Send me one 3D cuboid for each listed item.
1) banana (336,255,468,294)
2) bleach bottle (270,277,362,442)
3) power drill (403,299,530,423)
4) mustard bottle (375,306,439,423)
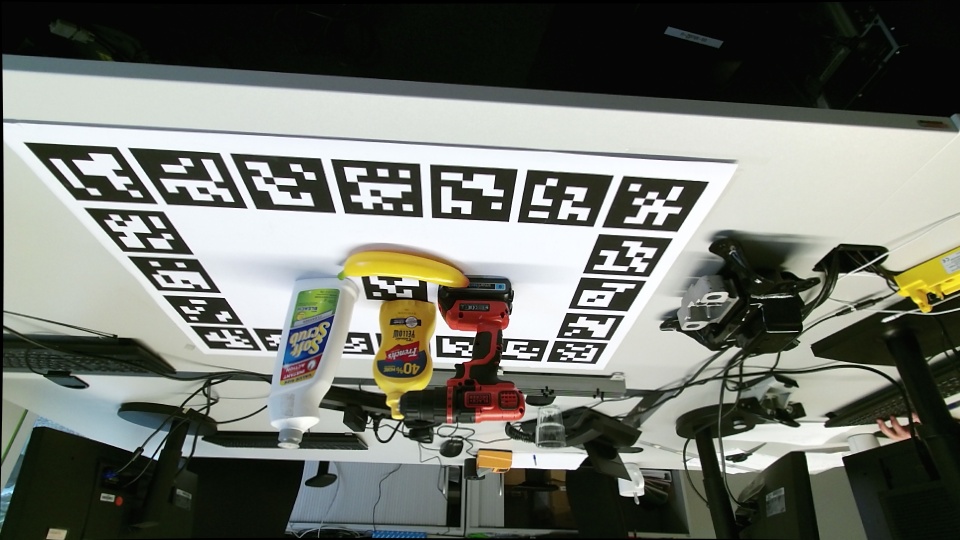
[{"bbox_3d":[-0.115,0.010,0.794,0.198,0.038,0.074,3,141,-6],"label":"banana"},{"bbox_3d":[-0.248,0.130,0.805,0.103,0.249,0.068,-2,144,5],"label":"bleach bottle"},{"bbox_3d":[-0.015,0.138,0.812,0.185,0.186,0.057,3,152,2],"label":"power drill"},{"bbox_3d":[-0.121,0.153,0.869,0.096,0.190,0.058,4,145,-2],"label":"mustard bottle"}]
